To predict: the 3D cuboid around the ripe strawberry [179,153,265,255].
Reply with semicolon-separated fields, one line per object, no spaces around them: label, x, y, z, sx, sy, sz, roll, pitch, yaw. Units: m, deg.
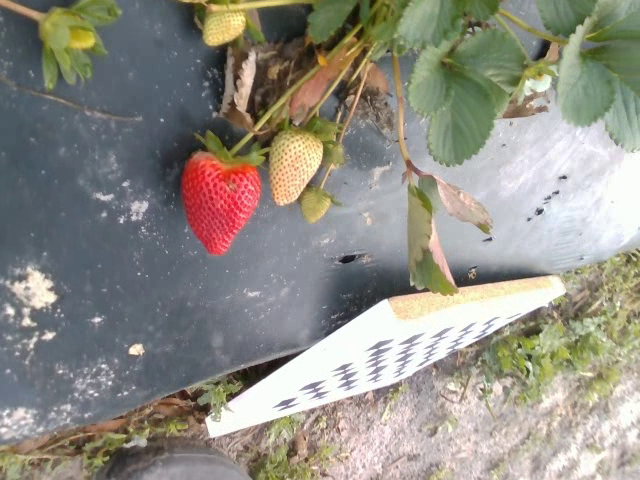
ripe strawberry;-0.052;-0.019;0.320;0.050;0.059;0.033;-5;15;-33
